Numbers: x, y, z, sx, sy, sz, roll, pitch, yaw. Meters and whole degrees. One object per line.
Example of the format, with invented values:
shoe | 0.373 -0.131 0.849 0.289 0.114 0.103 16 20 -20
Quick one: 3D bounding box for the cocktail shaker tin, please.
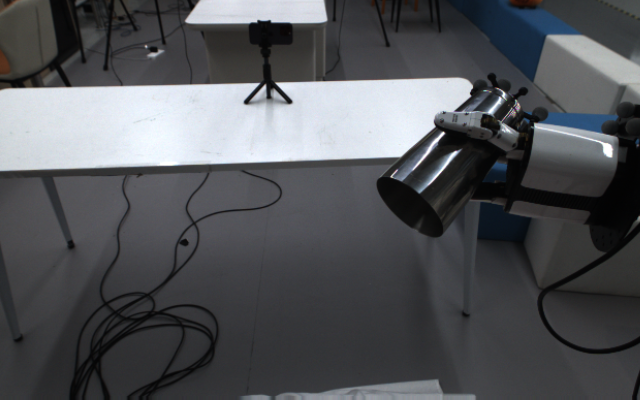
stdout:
cocktail shaker tin | 0.155 -0.054 0.549 0.170 0.093 0.093 -43 51 -15
